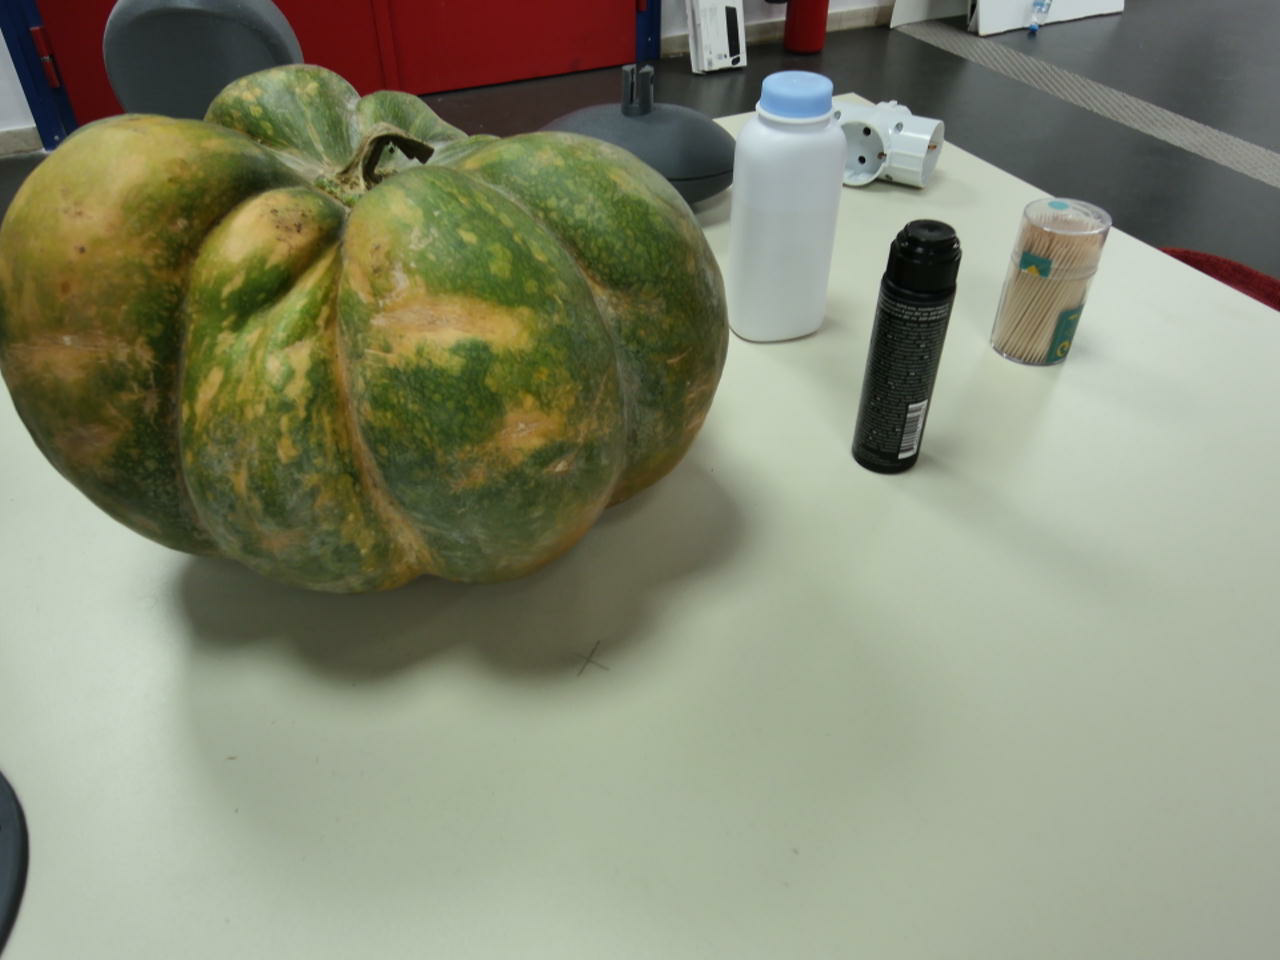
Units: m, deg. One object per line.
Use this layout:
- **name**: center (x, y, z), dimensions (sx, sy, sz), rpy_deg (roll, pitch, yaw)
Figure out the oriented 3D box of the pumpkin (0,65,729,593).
- **pumpkin**: center (-0.100, -0.066, 0.388), dimensions (0.270, 0.173, 0.237), rpy_deg (6, 38, 8)
